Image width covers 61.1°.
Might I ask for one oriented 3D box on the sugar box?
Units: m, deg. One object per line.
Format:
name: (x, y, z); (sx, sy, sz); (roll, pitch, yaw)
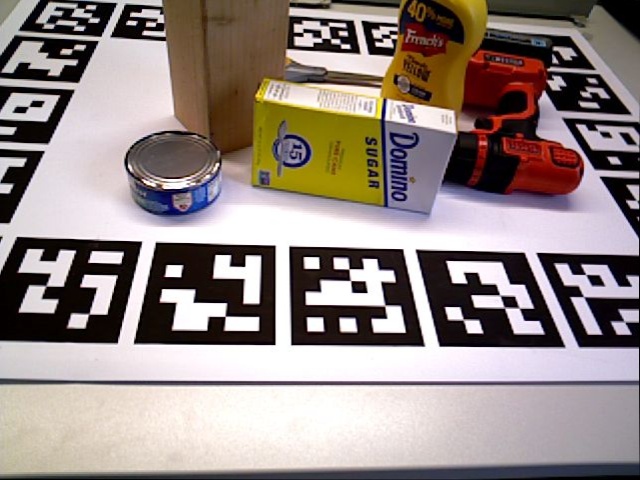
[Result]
sugar box: (0.034, -0.084, 0.494); (0.176, 0.095, 0.044); (12, 44, 1)

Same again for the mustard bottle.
mustard bottle: (0.124, -0.212, 0.561); (0.057, 0.196, 0.096); (-33, 61, -31)

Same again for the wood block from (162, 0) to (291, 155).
wood block: (-0.089, -0.195, 0.510); (0.089, 0.211, 0.089); (-22, 55, -25)

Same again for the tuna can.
tuna can: (-0.131, -0.066, 0.490); (0.085, 0.034, 0.084); (4, 49, -5)

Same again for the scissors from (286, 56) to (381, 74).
scissors: (-0.026, -0.207, 0.646); (0.201, 0.016, 0.086); (3, 44, -4)

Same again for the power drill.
power drill: (0.168, -0.133, 0.576); (0.184, 0.058, 0.183); (11, 55, 3)
